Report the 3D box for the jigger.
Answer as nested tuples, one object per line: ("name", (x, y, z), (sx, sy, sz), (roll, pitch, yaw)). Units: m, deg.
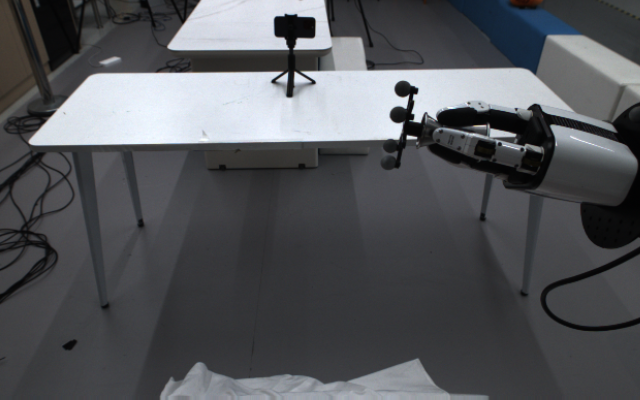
("jigger", (0.149, -0.070, 0.524), (0.071, 0.043, 0.043), (12, 35, 4))
